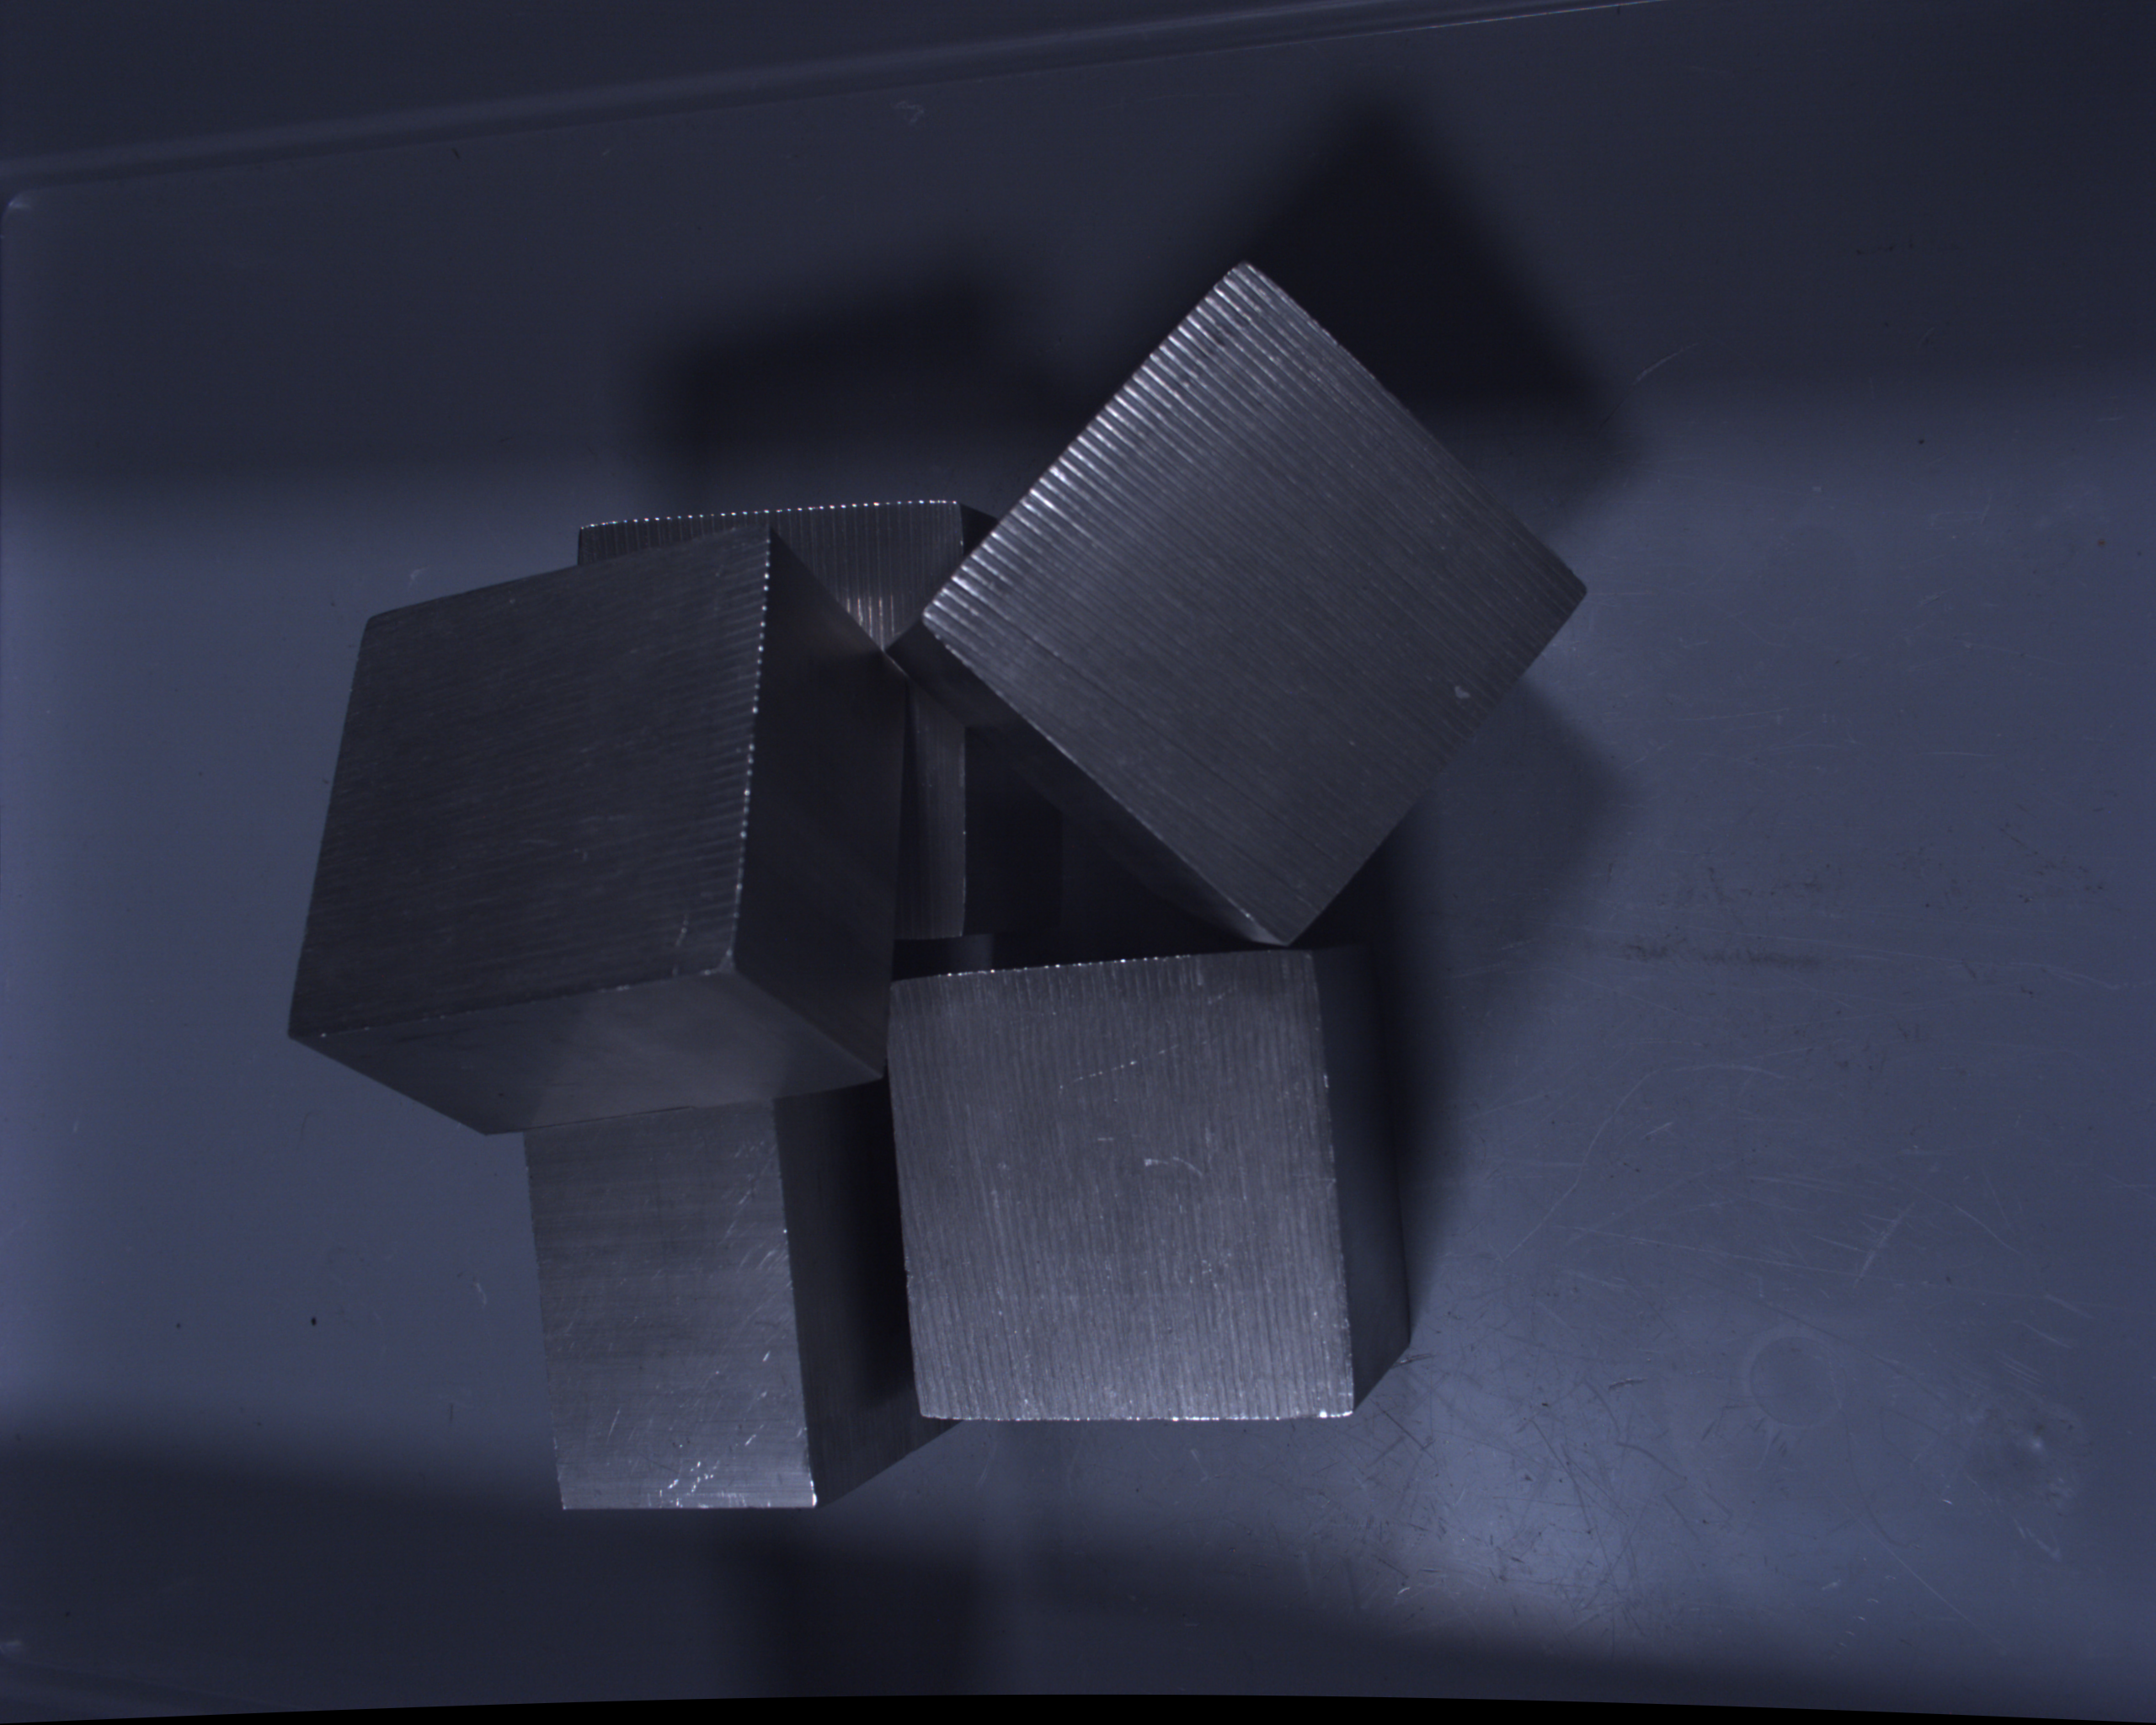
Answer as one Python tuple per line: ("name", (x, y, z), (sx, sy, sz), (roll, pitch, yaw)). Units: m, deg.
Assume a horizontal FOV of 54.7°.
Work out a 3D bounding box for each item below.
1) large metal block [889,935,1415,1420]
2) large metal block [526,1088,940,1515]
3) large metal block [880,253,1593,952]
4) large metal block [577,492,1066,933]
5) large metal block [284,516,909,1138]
("large metal block", (0.014, 0.057, 0.388), (0.080, 0.050, 0.080), (-6, 88, 19))
("large metal block", (-0.058, 0.073, 0.399), (0.050, 0.080, 0.080), (-7, 88, 19))
("large metal block", (0.025, -0.042, 0.359), (0.080, 0.050, 0.080), (42, 82, -9))
("large metal block", (-0.050, -0.027, 0.412), (0.080, 0.050, 0.079), (-1, 90, 19))
("large metal block", (-0.078, -0.004, 0.353), (0.080, 0.050, 0.080), (-10, 61, 19))
